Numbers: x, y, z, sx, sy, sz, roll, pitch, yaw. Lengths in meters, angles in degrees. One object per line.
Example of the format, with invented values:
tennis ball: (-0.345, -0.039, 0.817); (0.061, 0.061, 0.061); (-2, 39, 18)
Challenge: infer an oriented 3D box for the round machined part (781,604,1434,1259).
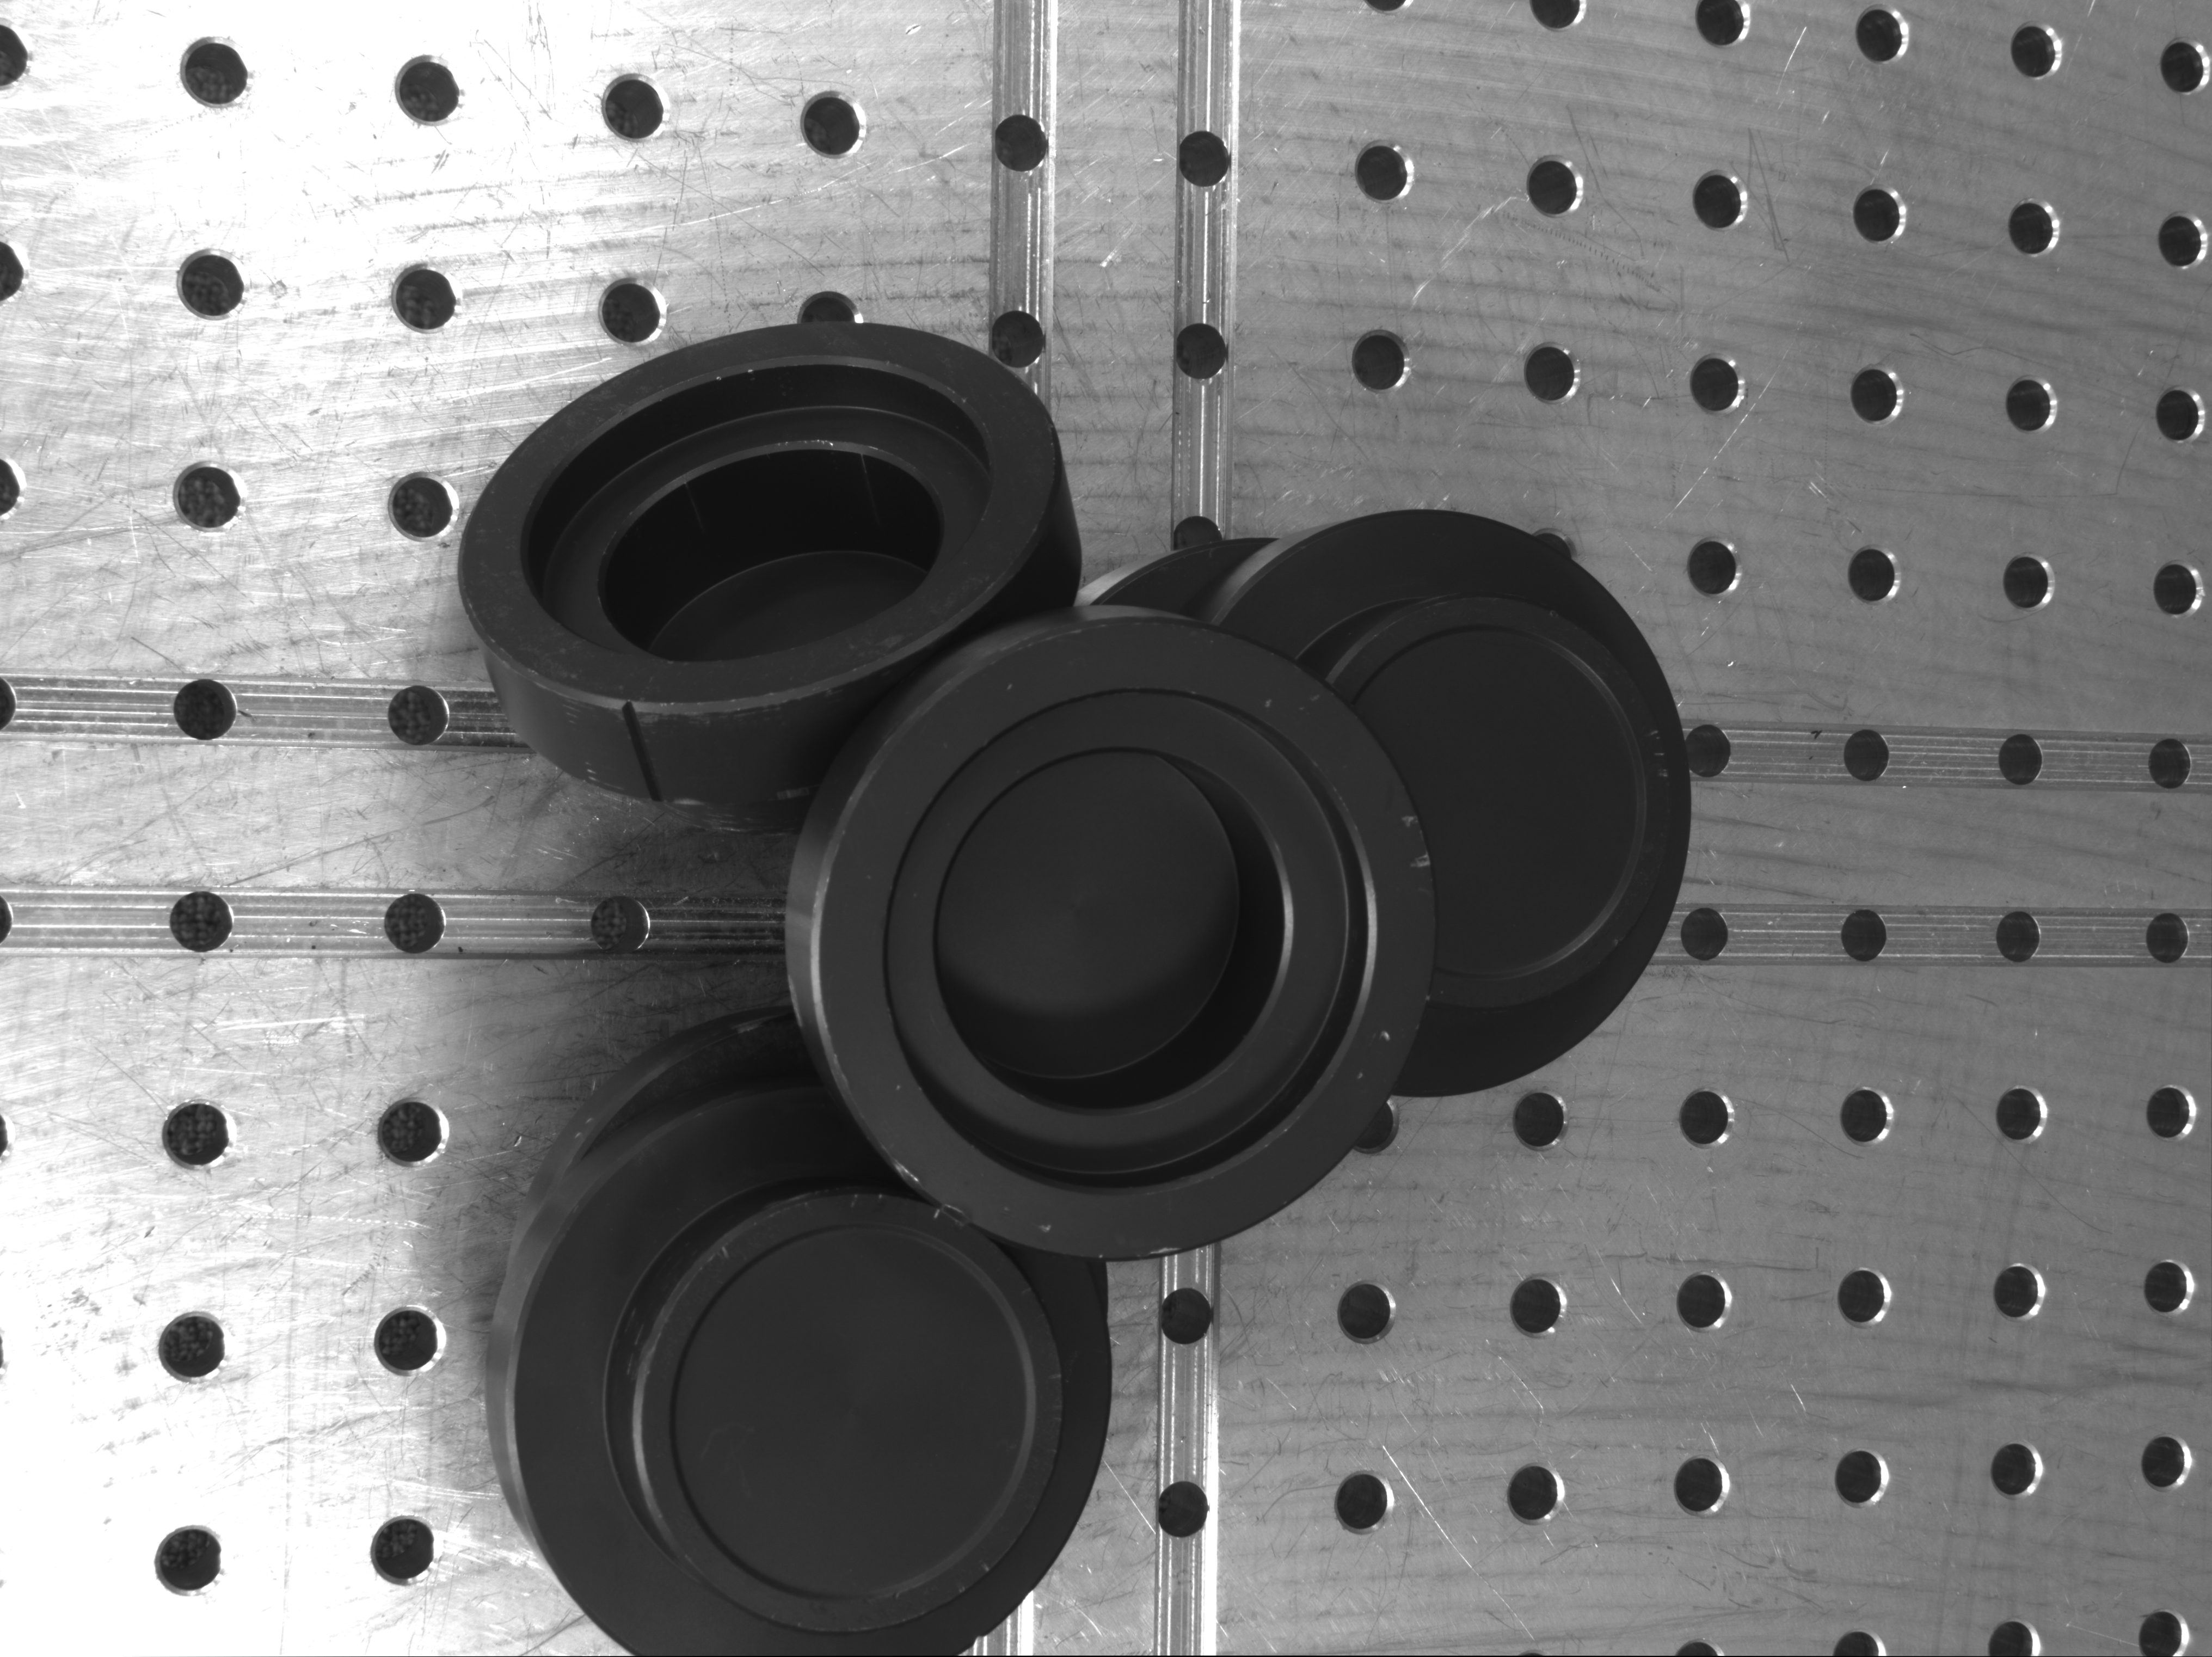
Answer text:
round machined part: (-0.002, 0.014, 0.568); (0.098, 0.042, 0.098); (-2, 99, -16)

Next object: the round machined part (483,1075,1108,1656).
round machined part: (-0.045, 0.089, 0.575); (0.098, 0.042, 0.098); (0, 90, -20)

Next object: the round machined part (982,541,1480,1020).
round machined part: (0.026, 0.000, 0.624); (0.098, 0.042, 0.098); (0, 90, -20)

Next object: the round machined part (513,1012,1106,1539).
round machined part: (-0.046, 0.079, 0.598); (0.098, 0.042, 0.098); (0, 90, -20)

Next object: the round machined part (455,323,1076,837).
round machined part: (-0.053, -0.037, 0.598); (0.098, 0.098, 0.042); (-29, 135, -17)

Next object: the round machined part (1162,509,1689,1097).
round machined part: (0.054, -0.004, 0.611); (0.098, 0.042, 0.098); (0, 89, -20)
